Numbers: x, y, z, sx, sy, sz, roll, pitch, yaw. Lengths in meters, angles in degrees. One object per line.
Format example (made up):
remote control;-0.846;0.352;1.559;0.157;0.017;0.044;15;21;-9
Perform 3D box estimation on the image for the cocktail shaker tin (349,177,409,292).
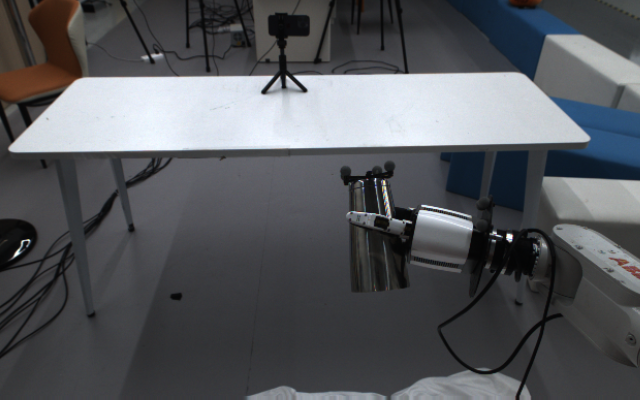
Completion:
cocktail shaker tin;0.086;0.055;0.766;0.093;0.170;0.093;-6;-7;-1
